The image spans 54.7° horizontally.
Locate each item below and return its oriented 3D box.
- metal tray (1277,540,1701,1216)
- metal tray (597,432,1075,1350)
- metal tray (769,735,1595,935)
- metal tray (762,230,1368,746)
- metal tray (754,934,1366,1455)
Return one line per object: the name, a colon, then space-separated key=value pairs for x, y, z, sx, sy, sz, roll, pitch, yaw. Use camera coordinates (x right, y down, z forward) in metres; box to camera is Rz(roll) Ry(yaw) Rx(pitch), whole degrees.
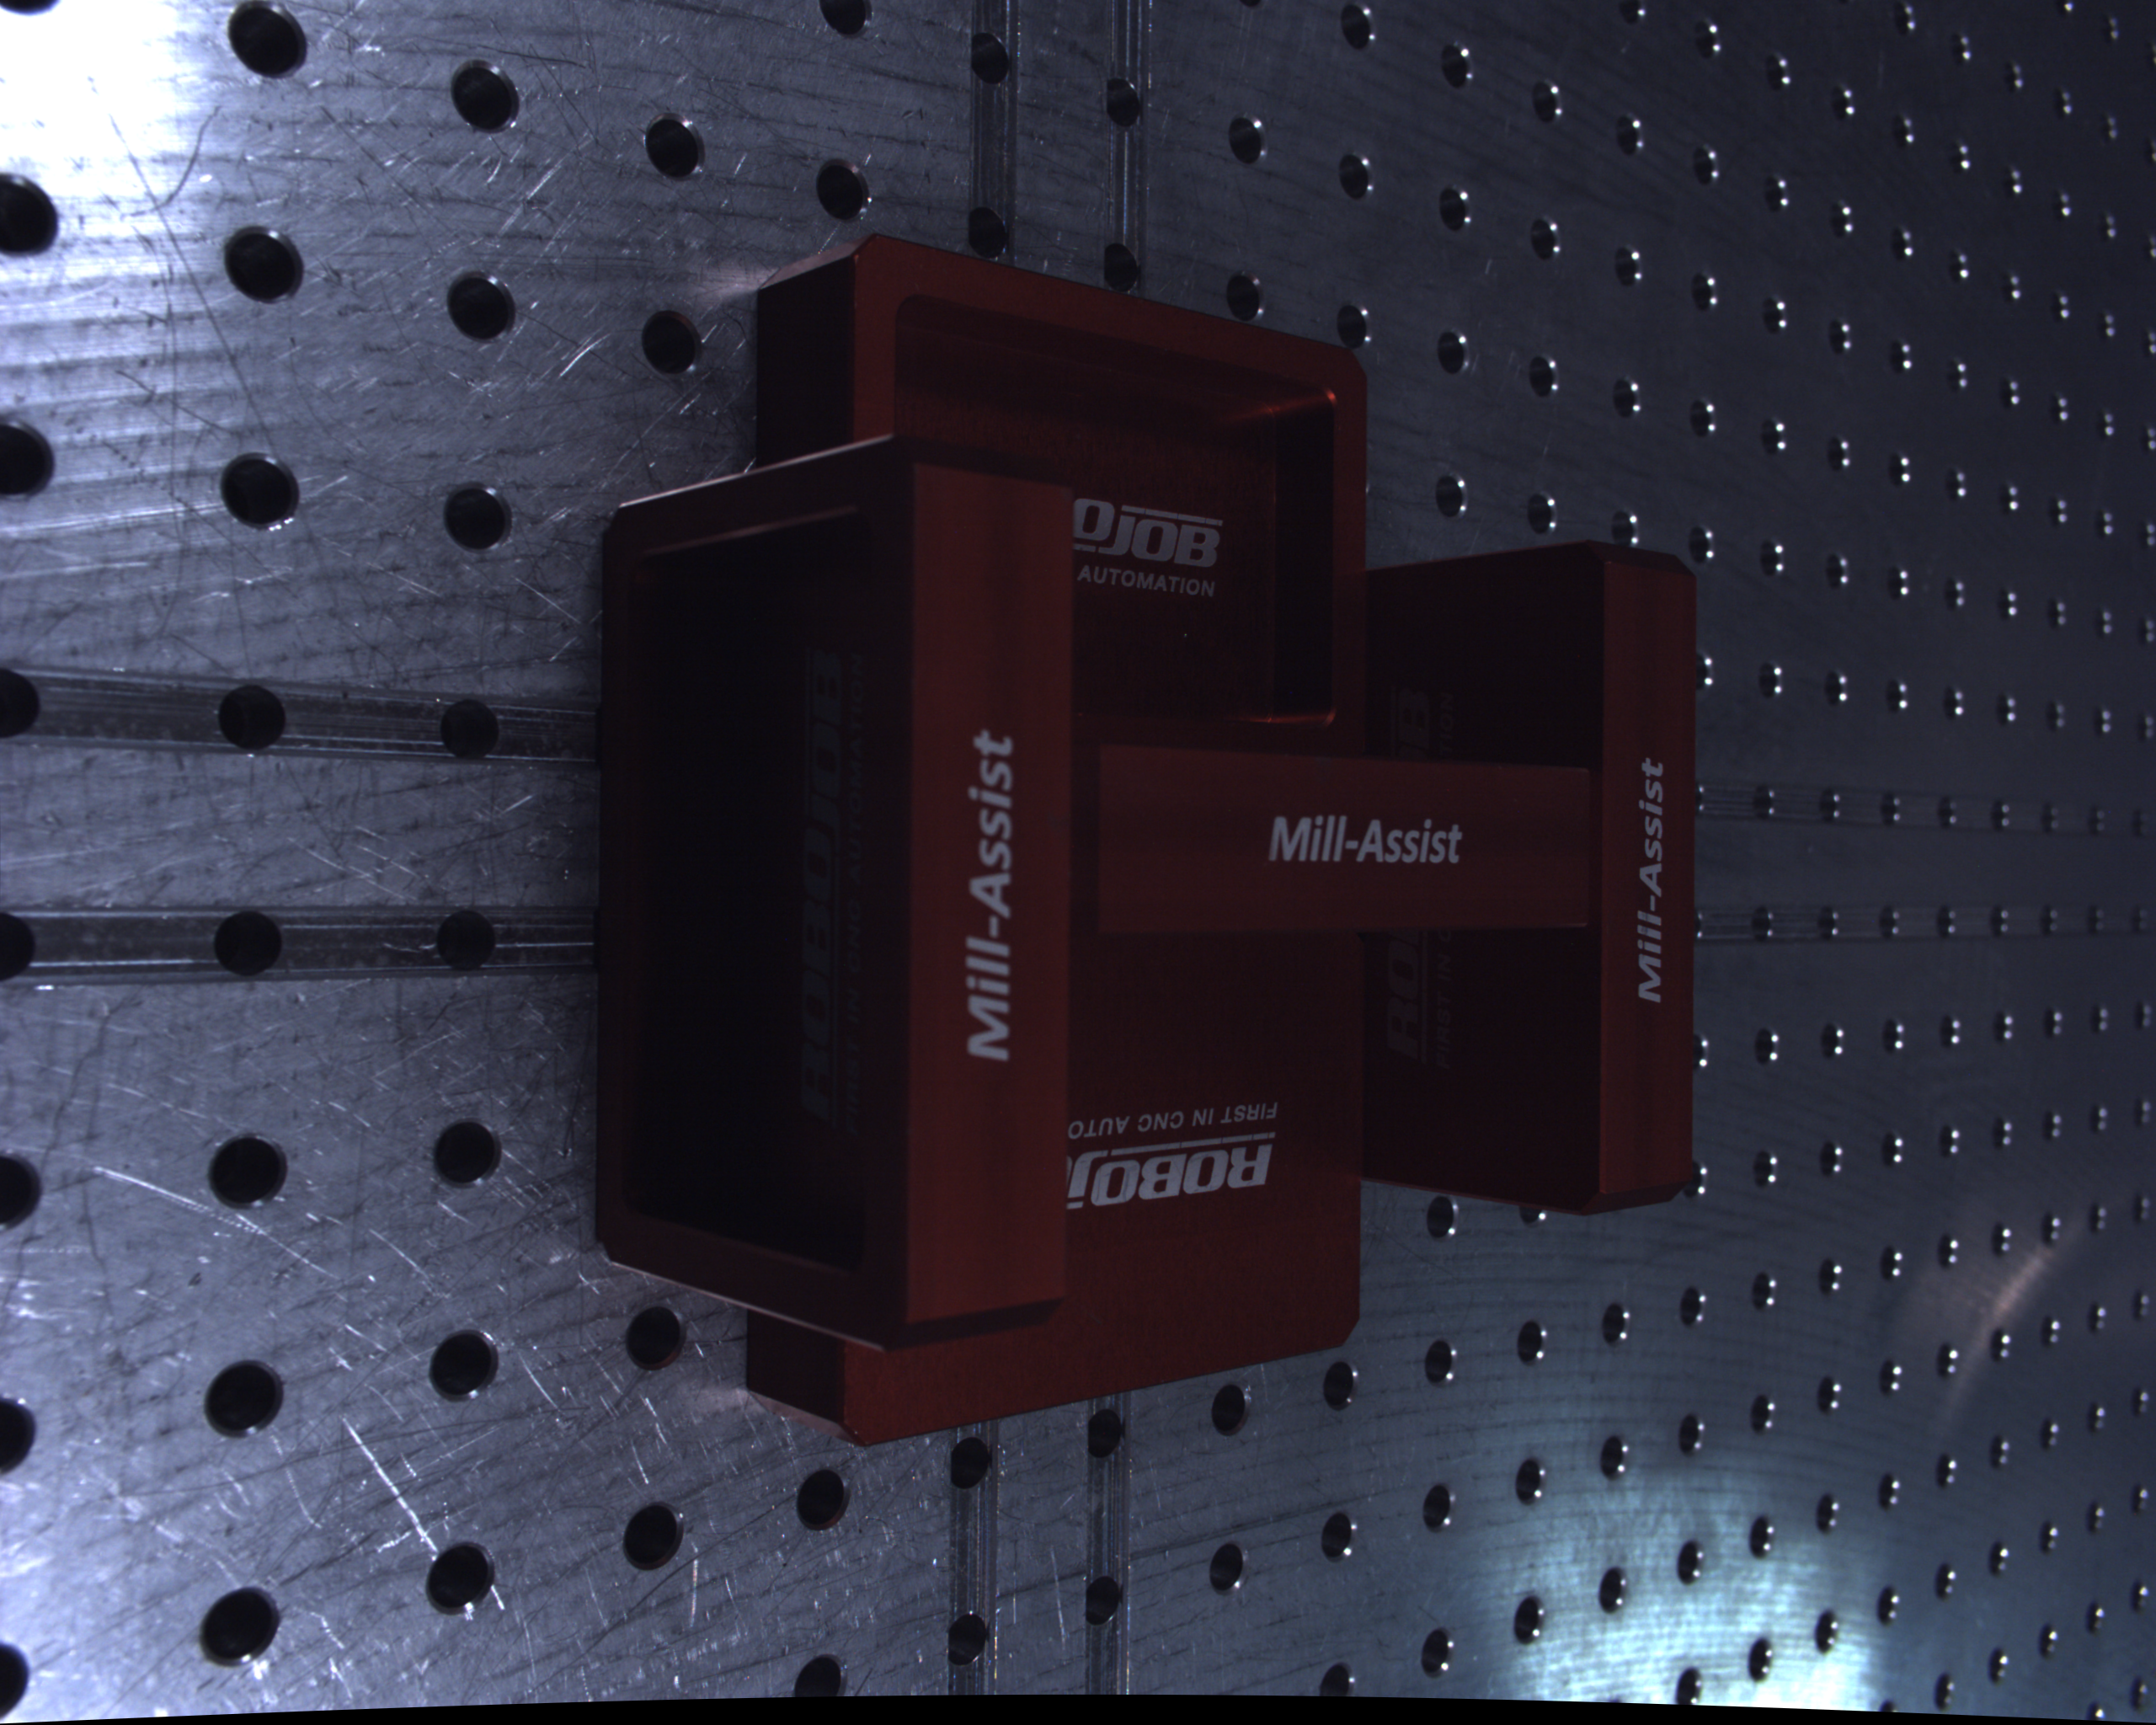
metal tray: x=0.083 y=0.003 z=0.438 sx=0.030 sy=0.090 sz=0.129 roll=1 pitch=89 yaw=-40
metal tray: x=-0.041 y=0.004 z=0.333 sx=0.030 sy=0.090 sz=0.129 roll=1 pitch=89 yaw=-40
metal tray: x=0.021 y=-0.004 z=0.384 sx=0.131 sy=0.090 sz=0.030 roll=1 pitch=90 yaw=-40
metal tray: x=0.002 y=-0.064 z=0.409 sx=0.131 sy=0.030 sz=0.089 roll=1 pitch=90 yaw=-40
metal tray: x=0.001 y=0.057 z=0.407 sx=0.131 sy=0.030 sz=0.089 roll=1 pitch=90 yaw=-40
